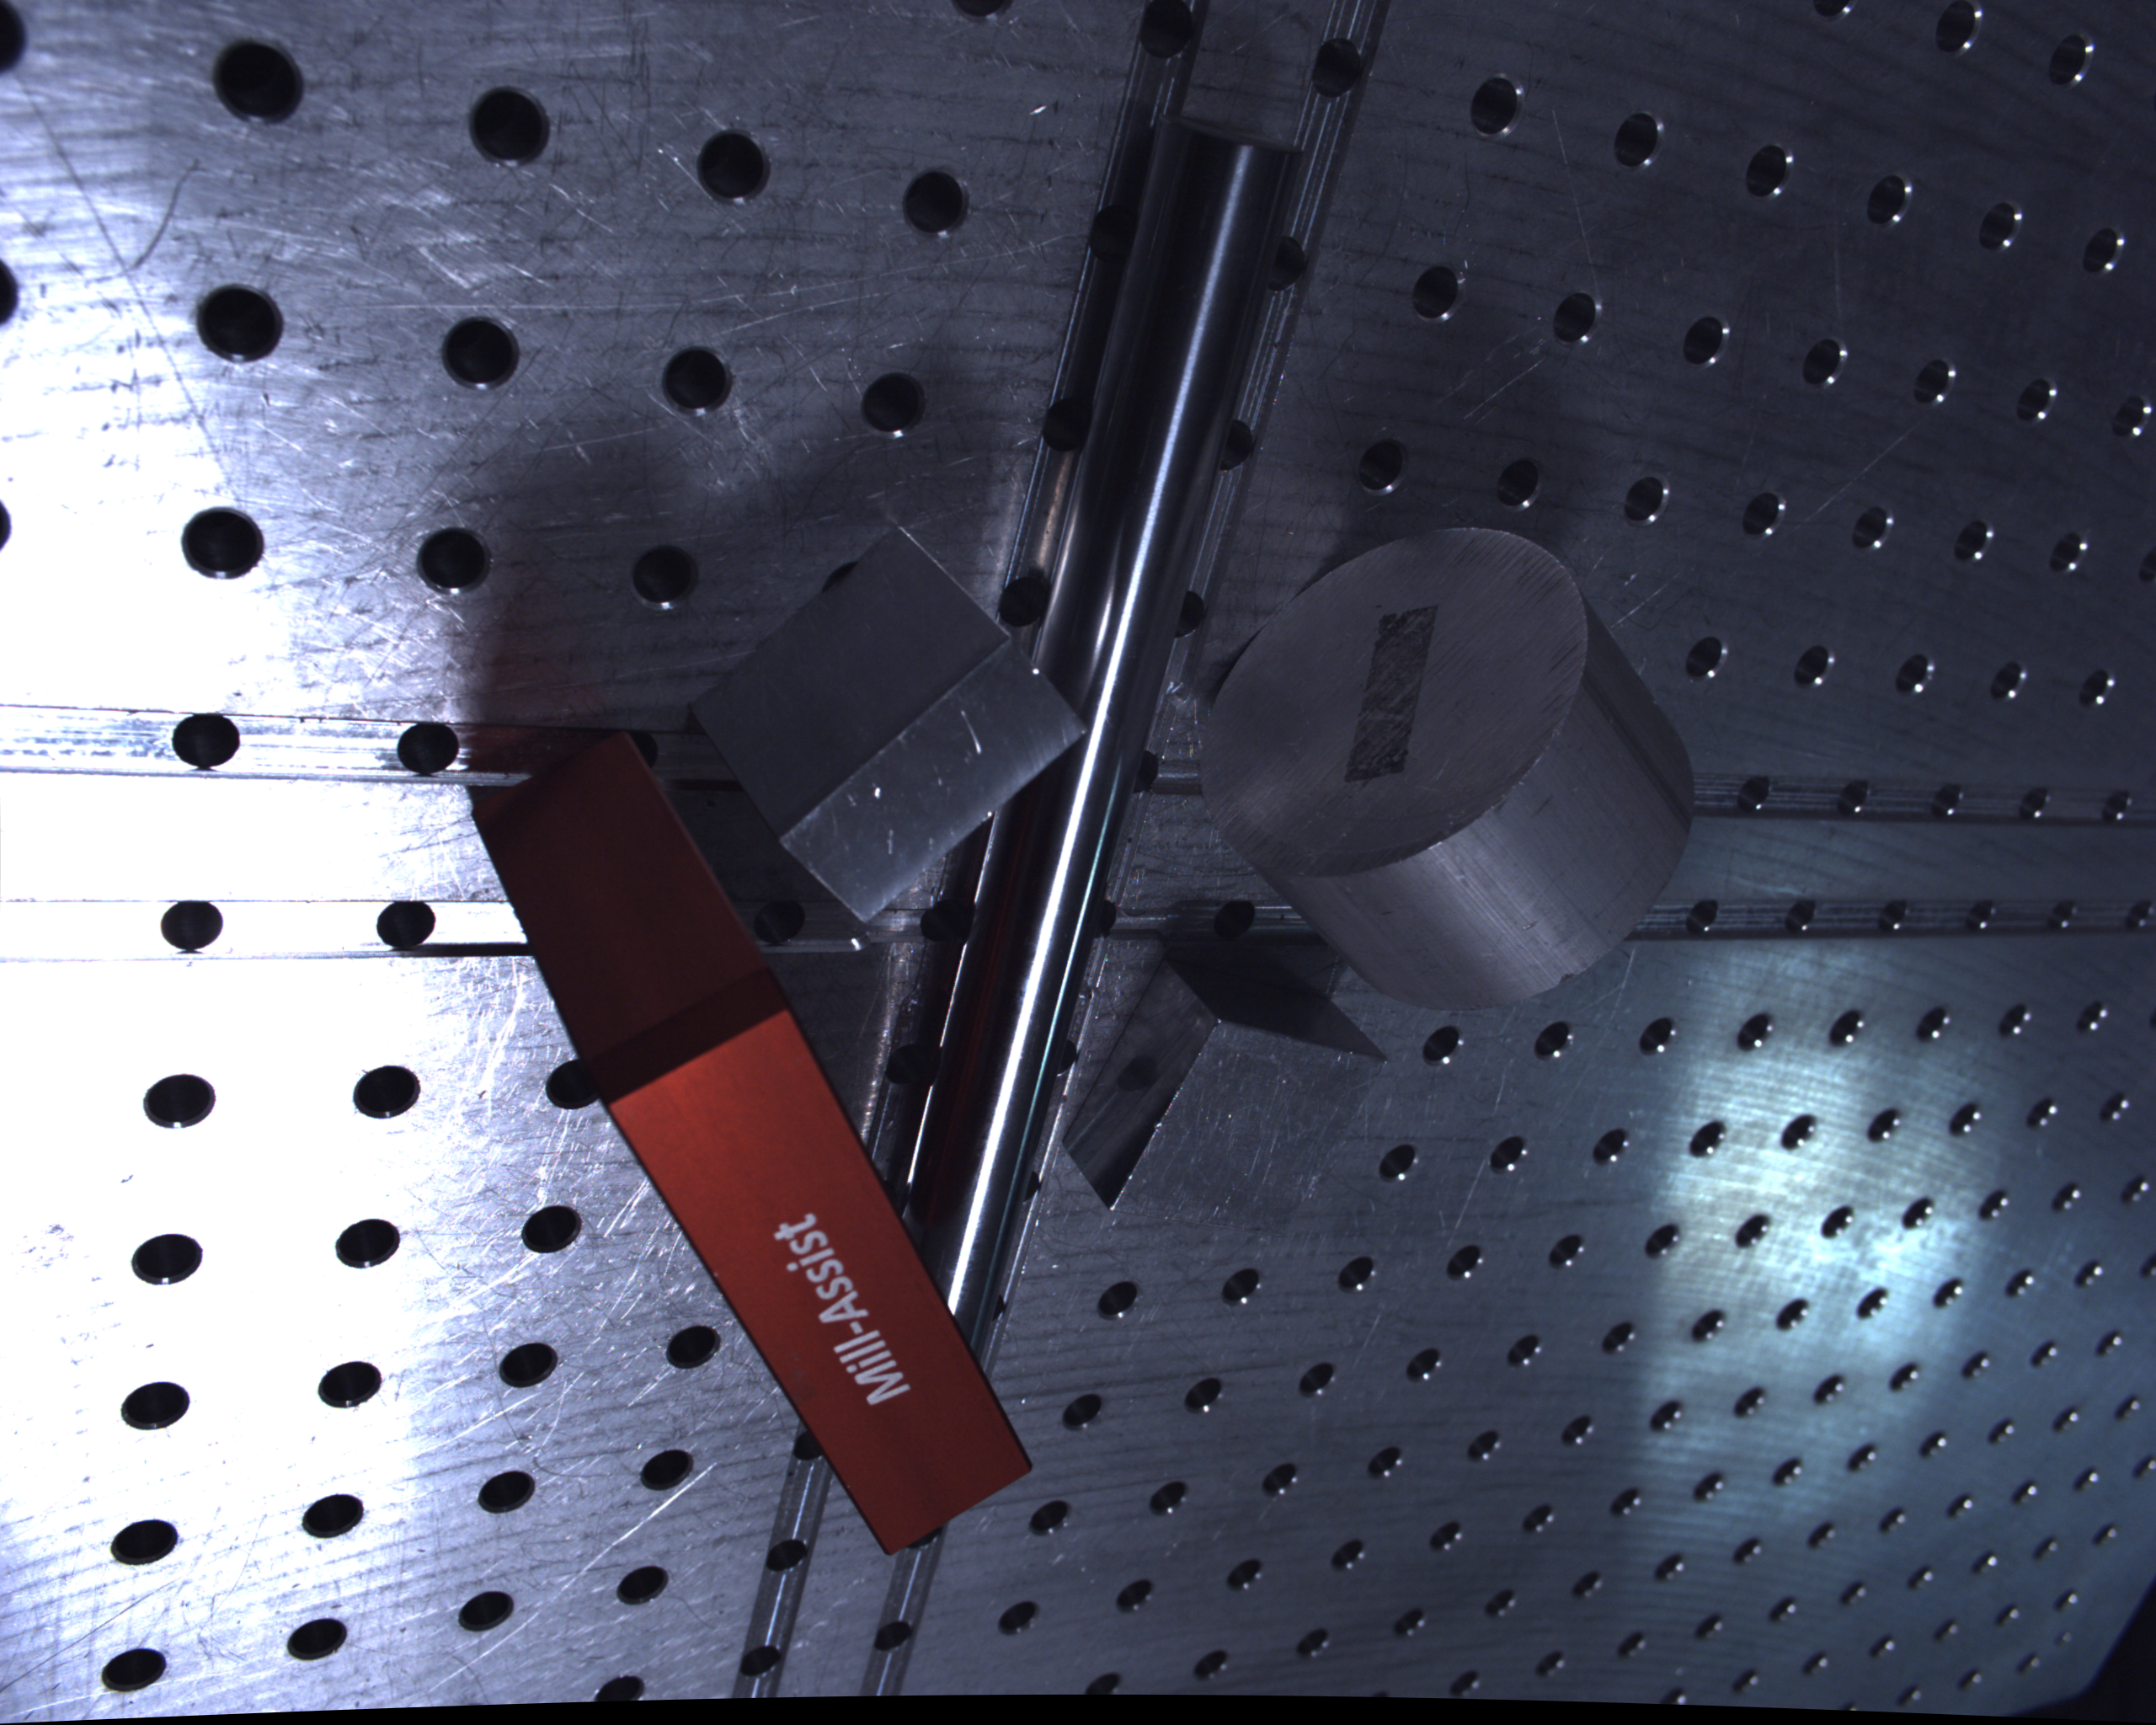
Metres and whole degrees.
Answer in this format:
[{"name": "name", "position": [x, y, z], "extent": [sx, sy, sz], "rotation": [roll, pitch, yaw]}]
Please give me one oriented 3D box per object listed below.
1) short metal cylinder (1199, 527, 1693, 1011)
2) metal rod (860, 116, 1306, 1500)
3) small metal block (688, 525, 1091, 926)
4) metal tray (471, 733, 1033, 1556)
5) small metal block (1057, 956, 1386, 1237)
[{"name": "short metal cylinder", "position": [0.071, -0.018, 0.405], "extent": [0.080, 0.080, 0.050], "rotation": [-44, 130, 2]}, {"name": "metal rod", "position": [-0.008, 0.008, 0.413], "extent": [0.025, 0.025, 0.298], "rotation": [0, 119, -29]}, {"name": "small metal block", "position": [-0.034, -0.025, 0.361], "extent": [0.050, 0.050, 0.025], "rotation": [-41, 130, 0]}, {"name": "metal tray", "position": [-0.057, 0.051, 0.370], "extent": [0.030, 0.090, 0.129], "rotation": [-29, 129, -10]}, {"name": "small metal block", "position": [0.032, 0.053, 0.464], "extent": [0.050, 0.025, 0.050], "rotation": [16, 110, -35]}]
